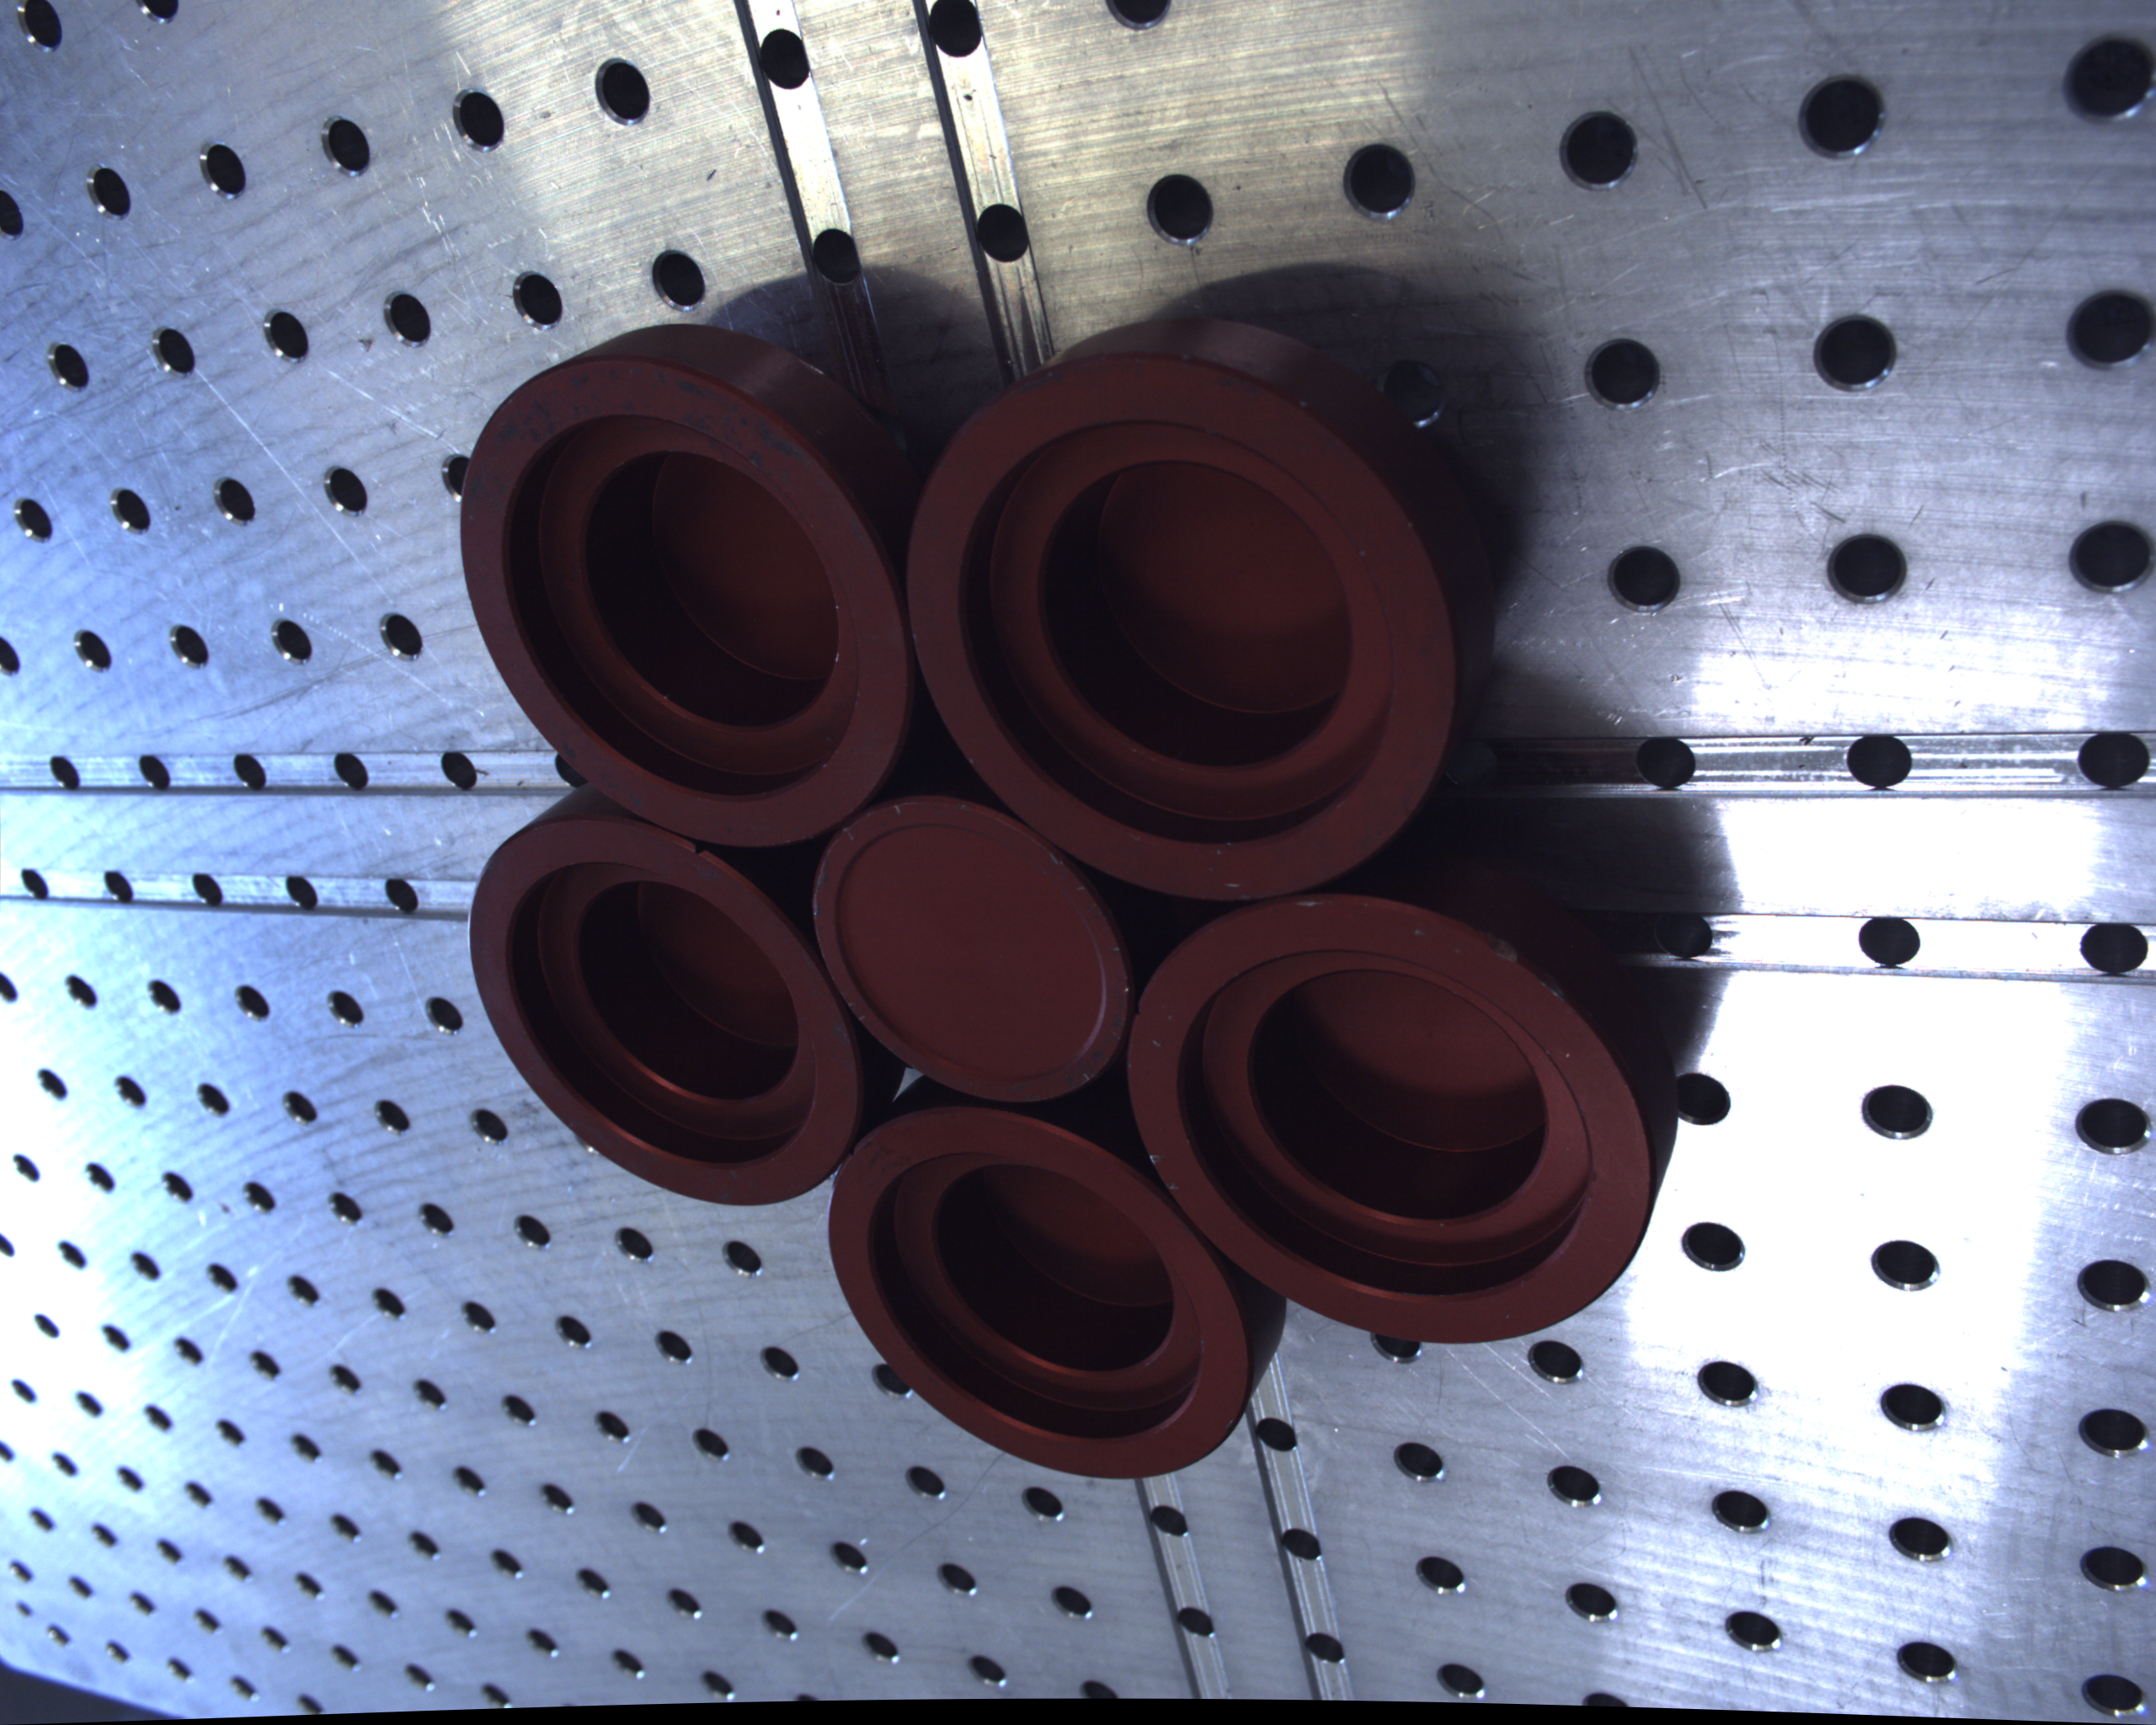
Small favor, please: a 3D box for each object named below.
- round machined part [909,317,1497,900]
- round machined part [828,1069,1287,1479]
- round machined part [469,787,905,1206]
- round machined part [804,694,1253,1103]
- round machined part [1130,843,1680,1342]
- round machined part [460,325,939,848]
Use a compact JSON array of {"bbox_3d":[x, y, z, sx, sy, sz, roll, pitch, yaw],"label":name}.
[{"bbox_3d":[0.024,-0.046,0.359,0.098,0.042,0.097,13,124,21],"label":"round machined part"},{"bbox_3d":[-0.001,0.082,0.451,0.098,0.042,0.097,13,124,21],"label":"round machined part"},{"bbox_3d":[-0.080,0.024,0.457,0.098,0.042,0.097,13,124,21],"label":"round machined part"},{"bbox_3d":[-0.012,0.008,0.412,0.098,0.042,0.097,13,124,21],"label":"round machined part"},{"bbox_3d":[0.063,0.038,0.391,0.098,0.042,0.097,13,124,21],"label":"round machined part"},{"bbox_3d":[-0.065,-0.055,0.401,0.098,0.042,0.097,13,124,21],"label":"round machined part"}]
